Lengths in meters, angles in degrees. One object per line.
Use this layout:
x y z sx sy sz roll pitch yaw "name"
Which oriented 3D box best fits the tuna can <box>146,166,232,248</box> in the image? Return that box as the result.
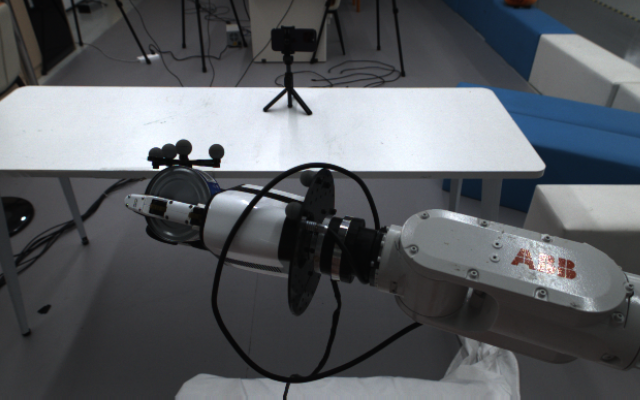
-0.153 0.005 0.551 0.085 0.085 0.034 15 1 18 "tuna can"
